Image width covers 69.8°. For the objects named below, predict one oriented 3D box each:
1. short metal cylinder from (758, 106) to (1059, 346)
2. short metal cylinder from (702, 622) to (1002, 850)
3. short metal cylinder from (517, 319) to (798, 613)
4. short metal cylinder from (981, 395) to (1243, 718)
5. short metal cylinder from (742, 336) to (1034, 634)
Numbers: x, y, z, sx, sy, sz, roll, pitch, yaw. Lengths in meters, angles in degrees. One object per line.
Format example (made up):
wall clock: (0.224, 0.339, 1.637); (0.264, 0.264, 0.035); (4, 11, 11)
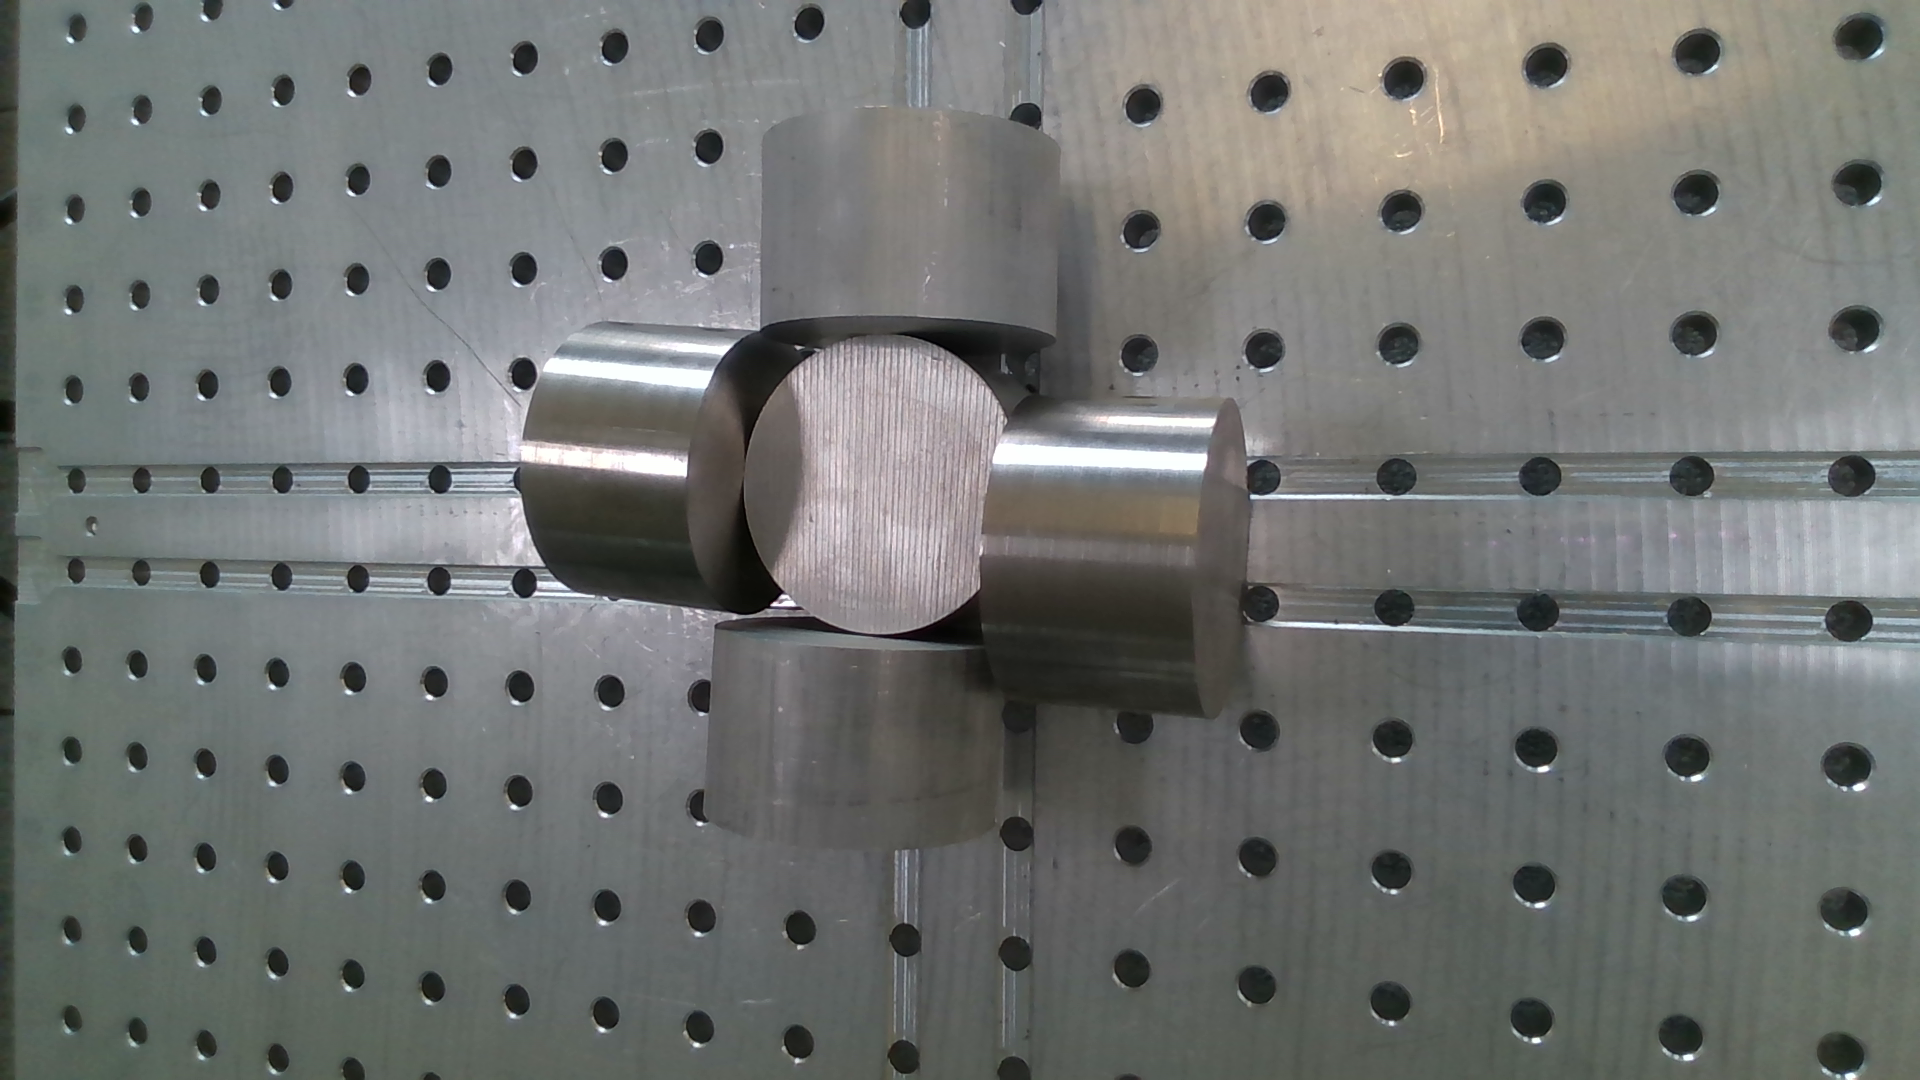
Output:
short metal cylinder: (-0.014, -0.080, 0.371); (0.080, 0.080, 0.050); (2, 91, 20)
short metal cylinder: (-0.029, 0.050, 0.378); (0.080, 0.080, 0.050); (4, 92, 20)
short metal cylinder: (-0.081, -0.022, 0.395); (0.050, 0.080, 0.080); (6, 92, 20)
short metal cylinder: (0.042, 0.003, 0.351); (0.050, 0.080, 0.080); (3, 91, 20)
short metal cylinder: (-0.014, -0.015, 0.388); (0.080, 0.050, 0.080); (1, 92, 20)
